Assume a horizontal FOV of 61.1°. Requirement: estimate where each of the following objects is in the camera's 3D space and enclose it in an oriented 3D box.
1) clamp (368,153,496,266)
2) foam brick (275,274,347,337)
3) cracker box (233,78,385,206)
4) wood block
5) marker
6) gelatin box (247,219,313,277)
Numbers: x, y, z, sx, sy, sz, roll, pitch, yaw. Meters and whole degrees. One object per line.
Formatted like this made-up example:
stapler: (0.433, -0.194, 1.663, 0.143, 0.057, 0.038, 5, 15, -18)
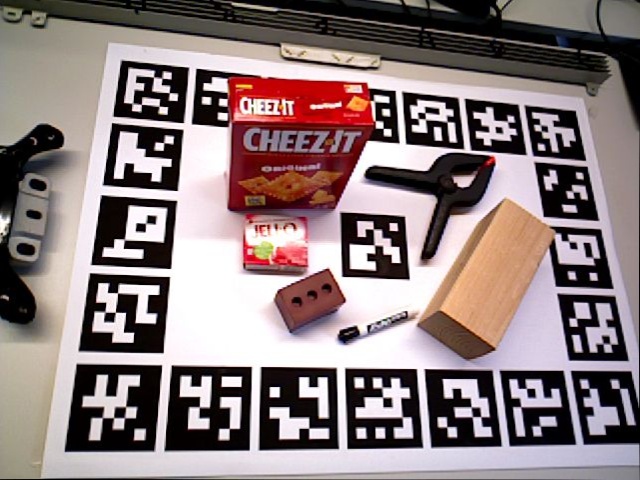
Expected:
clamp: (0.193, -0.073, 0.809, 0.199, 0.037, 0.165, -27, 79, -18)
foam brick: (-0.012, 0.085, 0.707, 0.077, 0.052, 0.052, -21, 77, -17)
cracker box: (-0.022, -0.118, 0.682, 0.162, 0.218, 0.071, 1, 68, -13)
wood block: (0.237, 0.062, 0.746, 0.090, 0.093, 0.202, 35, 66, 5)
marker: (0.073, 0.125, 0.726, 0.119, 0.020, 0.019, -16, 76, -15)
gelatin box: (-0.055, 0.010, 0.739, 0.088, 0.030, 0.073, 2, 72, -10)
